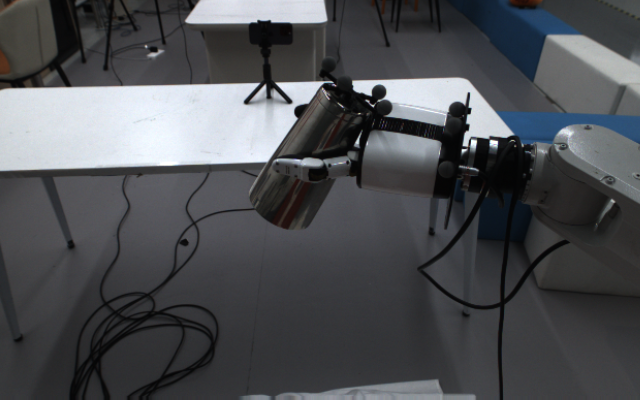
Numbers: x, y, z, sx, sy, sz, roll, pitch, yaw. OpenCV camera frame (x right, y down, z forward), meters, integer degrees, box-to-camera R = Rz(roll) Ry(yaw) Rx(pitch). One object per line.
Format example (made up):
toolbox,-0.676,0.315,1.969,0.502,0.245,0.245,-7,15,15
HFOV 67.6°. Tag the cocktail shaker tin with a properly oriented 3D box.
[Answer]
cocktail shaker tin,-0.010,-0.059,0.597,0.093,0.170,0.093,26,32,-17
